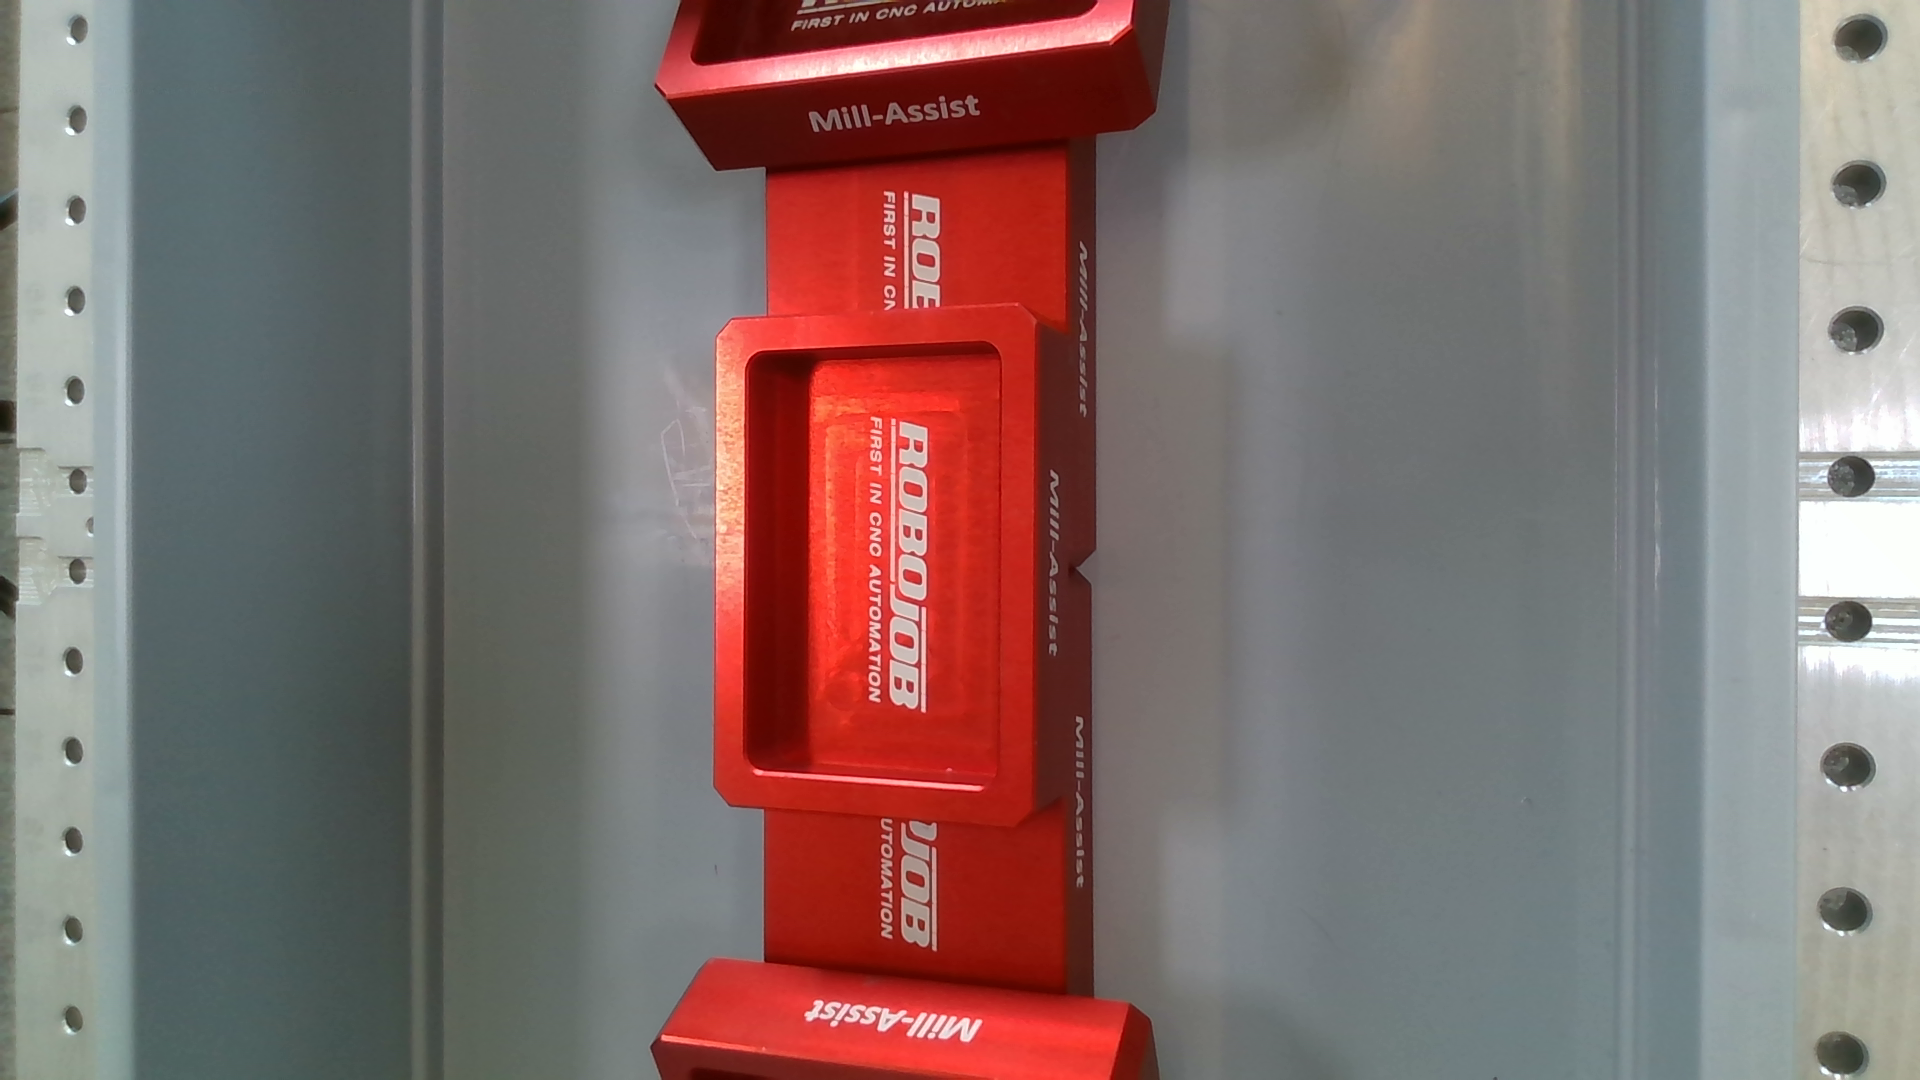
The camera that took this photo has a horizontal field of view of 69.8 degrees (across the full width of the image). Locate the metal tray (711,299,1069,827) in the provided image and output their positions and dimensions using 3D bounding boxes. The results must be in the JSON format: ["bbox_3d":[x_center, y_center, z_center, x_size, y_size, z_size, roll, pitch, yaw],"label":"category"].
[{"bbox_3d":[-0.019,0.006,0.365,0.090,0.030,0.130,1,90,19],"label":"metal tray"}]

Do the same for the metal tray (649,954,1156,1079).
[{"bbox_3d":[-0.011,0.162,0.375,0.130,0.030,0.090,0,118,20],"label":"metal tray"}]

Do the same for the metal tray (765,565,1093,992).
[{"bbox_3d":[-0.009,0.072,0.395,0.090,0.030,0.130,0,90,20],"label":"metal tray"}]

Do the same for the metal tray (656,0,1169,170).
[{"bbox_3d":[-0.010,-0.151,0.374,0.130,0.030,0.090,0,65,20],"label":"metal tray"}]

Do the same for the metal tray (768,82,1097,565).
[{"bbox_3d":[-0.008,-0.058,0.394,0.090,0.030,0.130,0,90,20],"label":"metal tray"}]
